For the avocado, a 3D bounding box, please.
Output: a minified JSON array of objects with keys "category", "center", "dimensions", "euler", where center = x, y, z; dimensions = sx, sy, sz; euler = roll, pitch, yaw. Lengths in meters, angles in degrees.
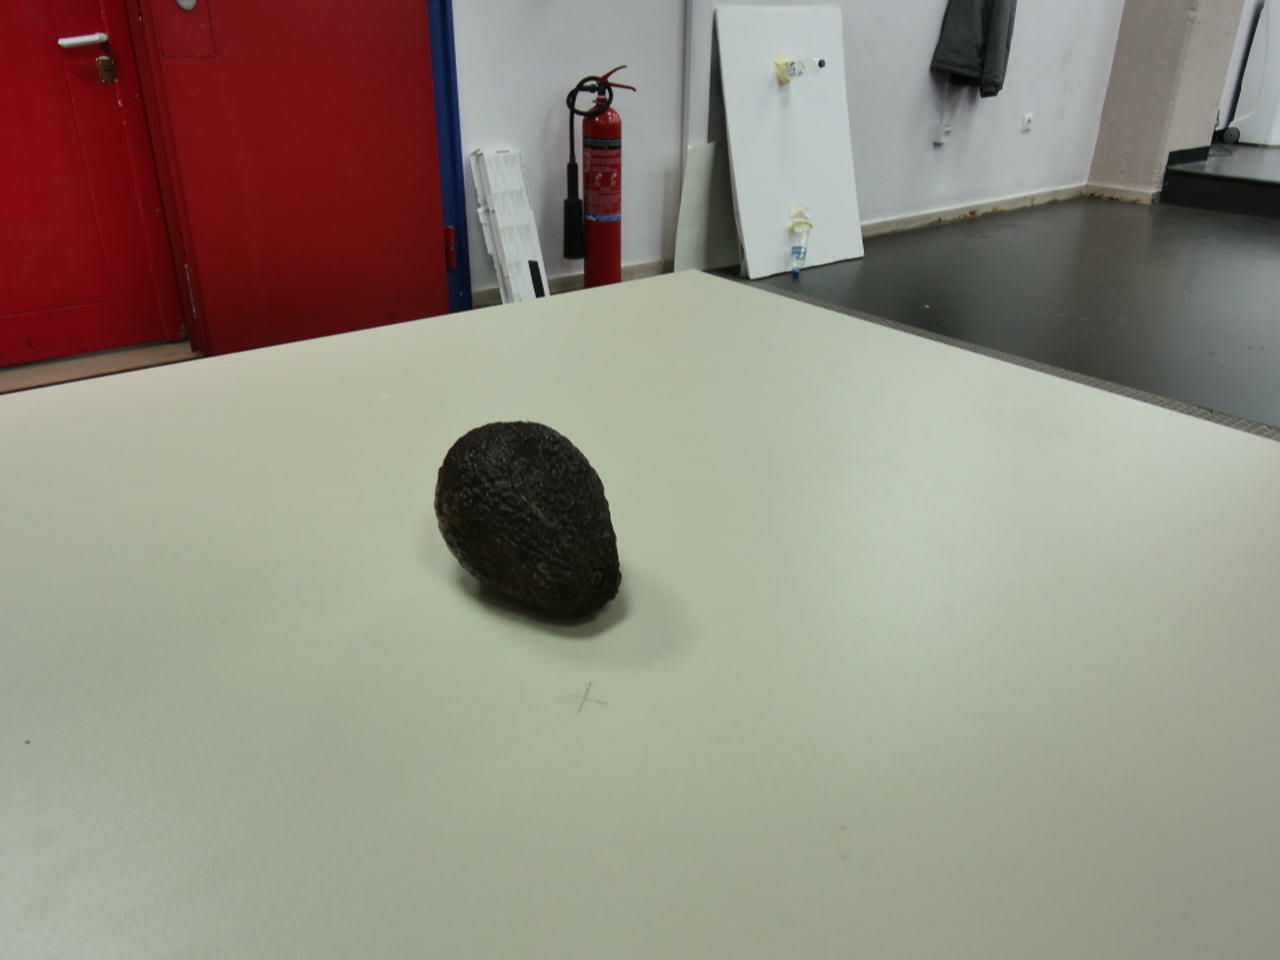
[{"category":"avocado","center":[-0.048,0.013,0.408],"dimensions":[0.070,0.069,0.090],"euler":[-6,24,-13]}]
